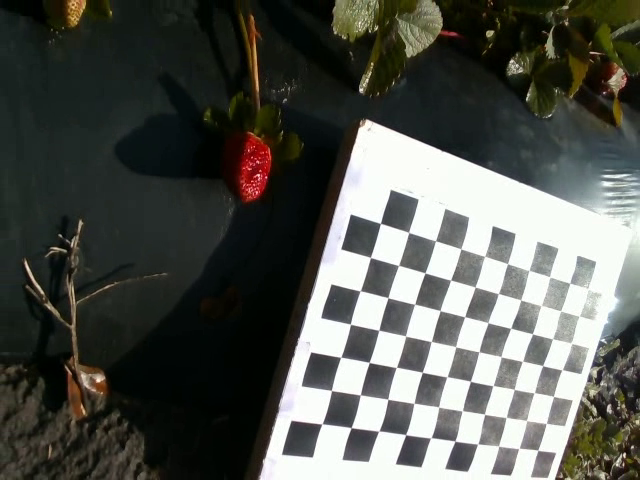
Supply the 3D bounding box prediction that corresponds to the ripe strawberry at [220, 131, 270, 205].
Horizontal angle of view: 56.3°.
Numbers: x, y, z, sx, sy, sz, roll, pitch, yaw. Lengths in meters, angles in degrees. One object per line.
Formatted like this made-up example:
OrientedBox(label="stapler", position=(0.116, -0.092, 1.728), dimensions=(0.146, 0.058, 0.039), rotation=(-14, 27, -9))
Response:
OrientedBox(label="ripe strawberry", position=(-0.016, -0.016, 0.129), dimensions=(0.015, 0.023, 0.015), rotation=(25, -54, -28))
